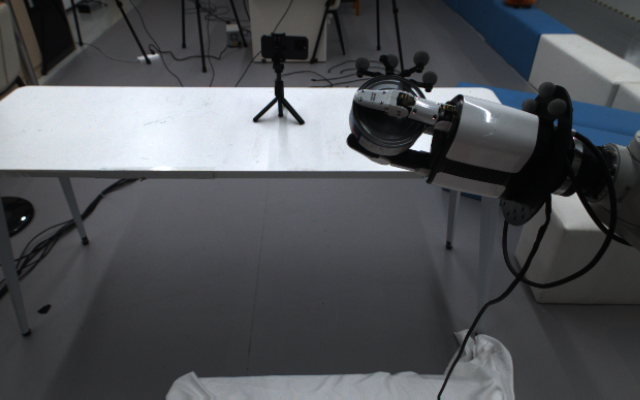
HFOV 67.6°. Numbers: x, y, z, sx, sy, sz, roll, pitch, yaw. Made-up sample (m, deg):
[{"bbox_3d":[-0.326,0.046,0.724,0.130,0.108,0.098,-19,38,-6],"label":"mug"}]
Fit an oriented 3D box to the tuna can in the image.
[{"bbox_3d":[0.077,-0.098,0.544,0.085,0.034,0.085,1,73,-3],"label":"tuna can"}]
